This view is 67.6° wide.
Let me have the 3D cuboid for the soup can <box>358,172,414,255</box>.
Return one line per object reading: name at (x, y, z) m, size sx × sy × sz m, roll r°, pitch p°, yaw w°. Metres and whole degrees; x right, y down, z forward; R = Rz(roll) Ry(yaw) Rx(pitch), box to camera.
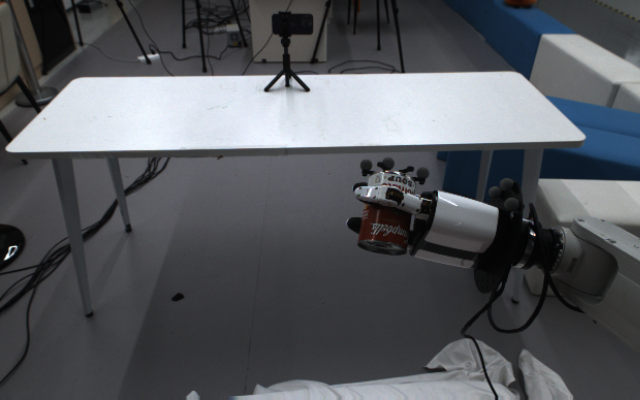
soup can at (0.093, 0.018, 0.662) m, size 0.067 × 0.067 × 0.101 m, roll 8°, pitch 72°, yaw 9°
